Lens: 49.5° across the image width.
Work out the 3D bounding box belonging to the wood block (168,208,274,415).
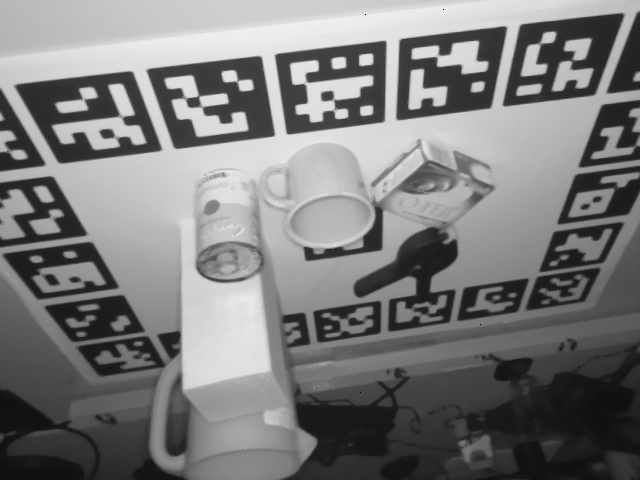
[{"bbox_3d":[-0.101,0.069,0.742,0.090,0.207,0.090,-6,142,1],"label":"wood block"}]

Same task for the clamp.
[{"bbox_3d":[0.119,0.030,0.896,0.123,0.037,0.162,18,133,-21],"label":"clamp"}]

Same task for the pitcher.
[{"bbox_3d":[-0.120,0.159,0.825,0.190,0.243,0.132,-9,144,-5],"label":"pitcher"}]

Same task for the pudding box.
[{"bbox_3d":[0.136,-0.068,0.770,0.115,0.039,0.088,19,130,-33],"label":"pudding box"}]

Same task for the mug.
[{"bbox_3d":[-0.004,-0.062,0.706,0.118,0.082,0.092,17,136,-32],"label":"mug"}]

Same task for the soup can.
[{"bbox_3d":[-0.094,-0.030,0.707,0.068,0.102,0.067,-6,139,-5],"label":"soup can"}]
